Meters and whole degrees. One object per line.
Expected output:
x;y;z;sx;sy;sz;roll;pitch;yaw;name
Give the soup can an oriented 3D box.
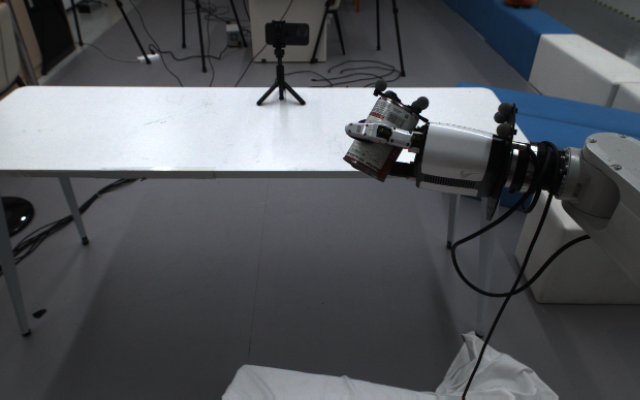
0.086;-0.086;0.688;0.067;0.101;0.067;30;2;-1;soup can
